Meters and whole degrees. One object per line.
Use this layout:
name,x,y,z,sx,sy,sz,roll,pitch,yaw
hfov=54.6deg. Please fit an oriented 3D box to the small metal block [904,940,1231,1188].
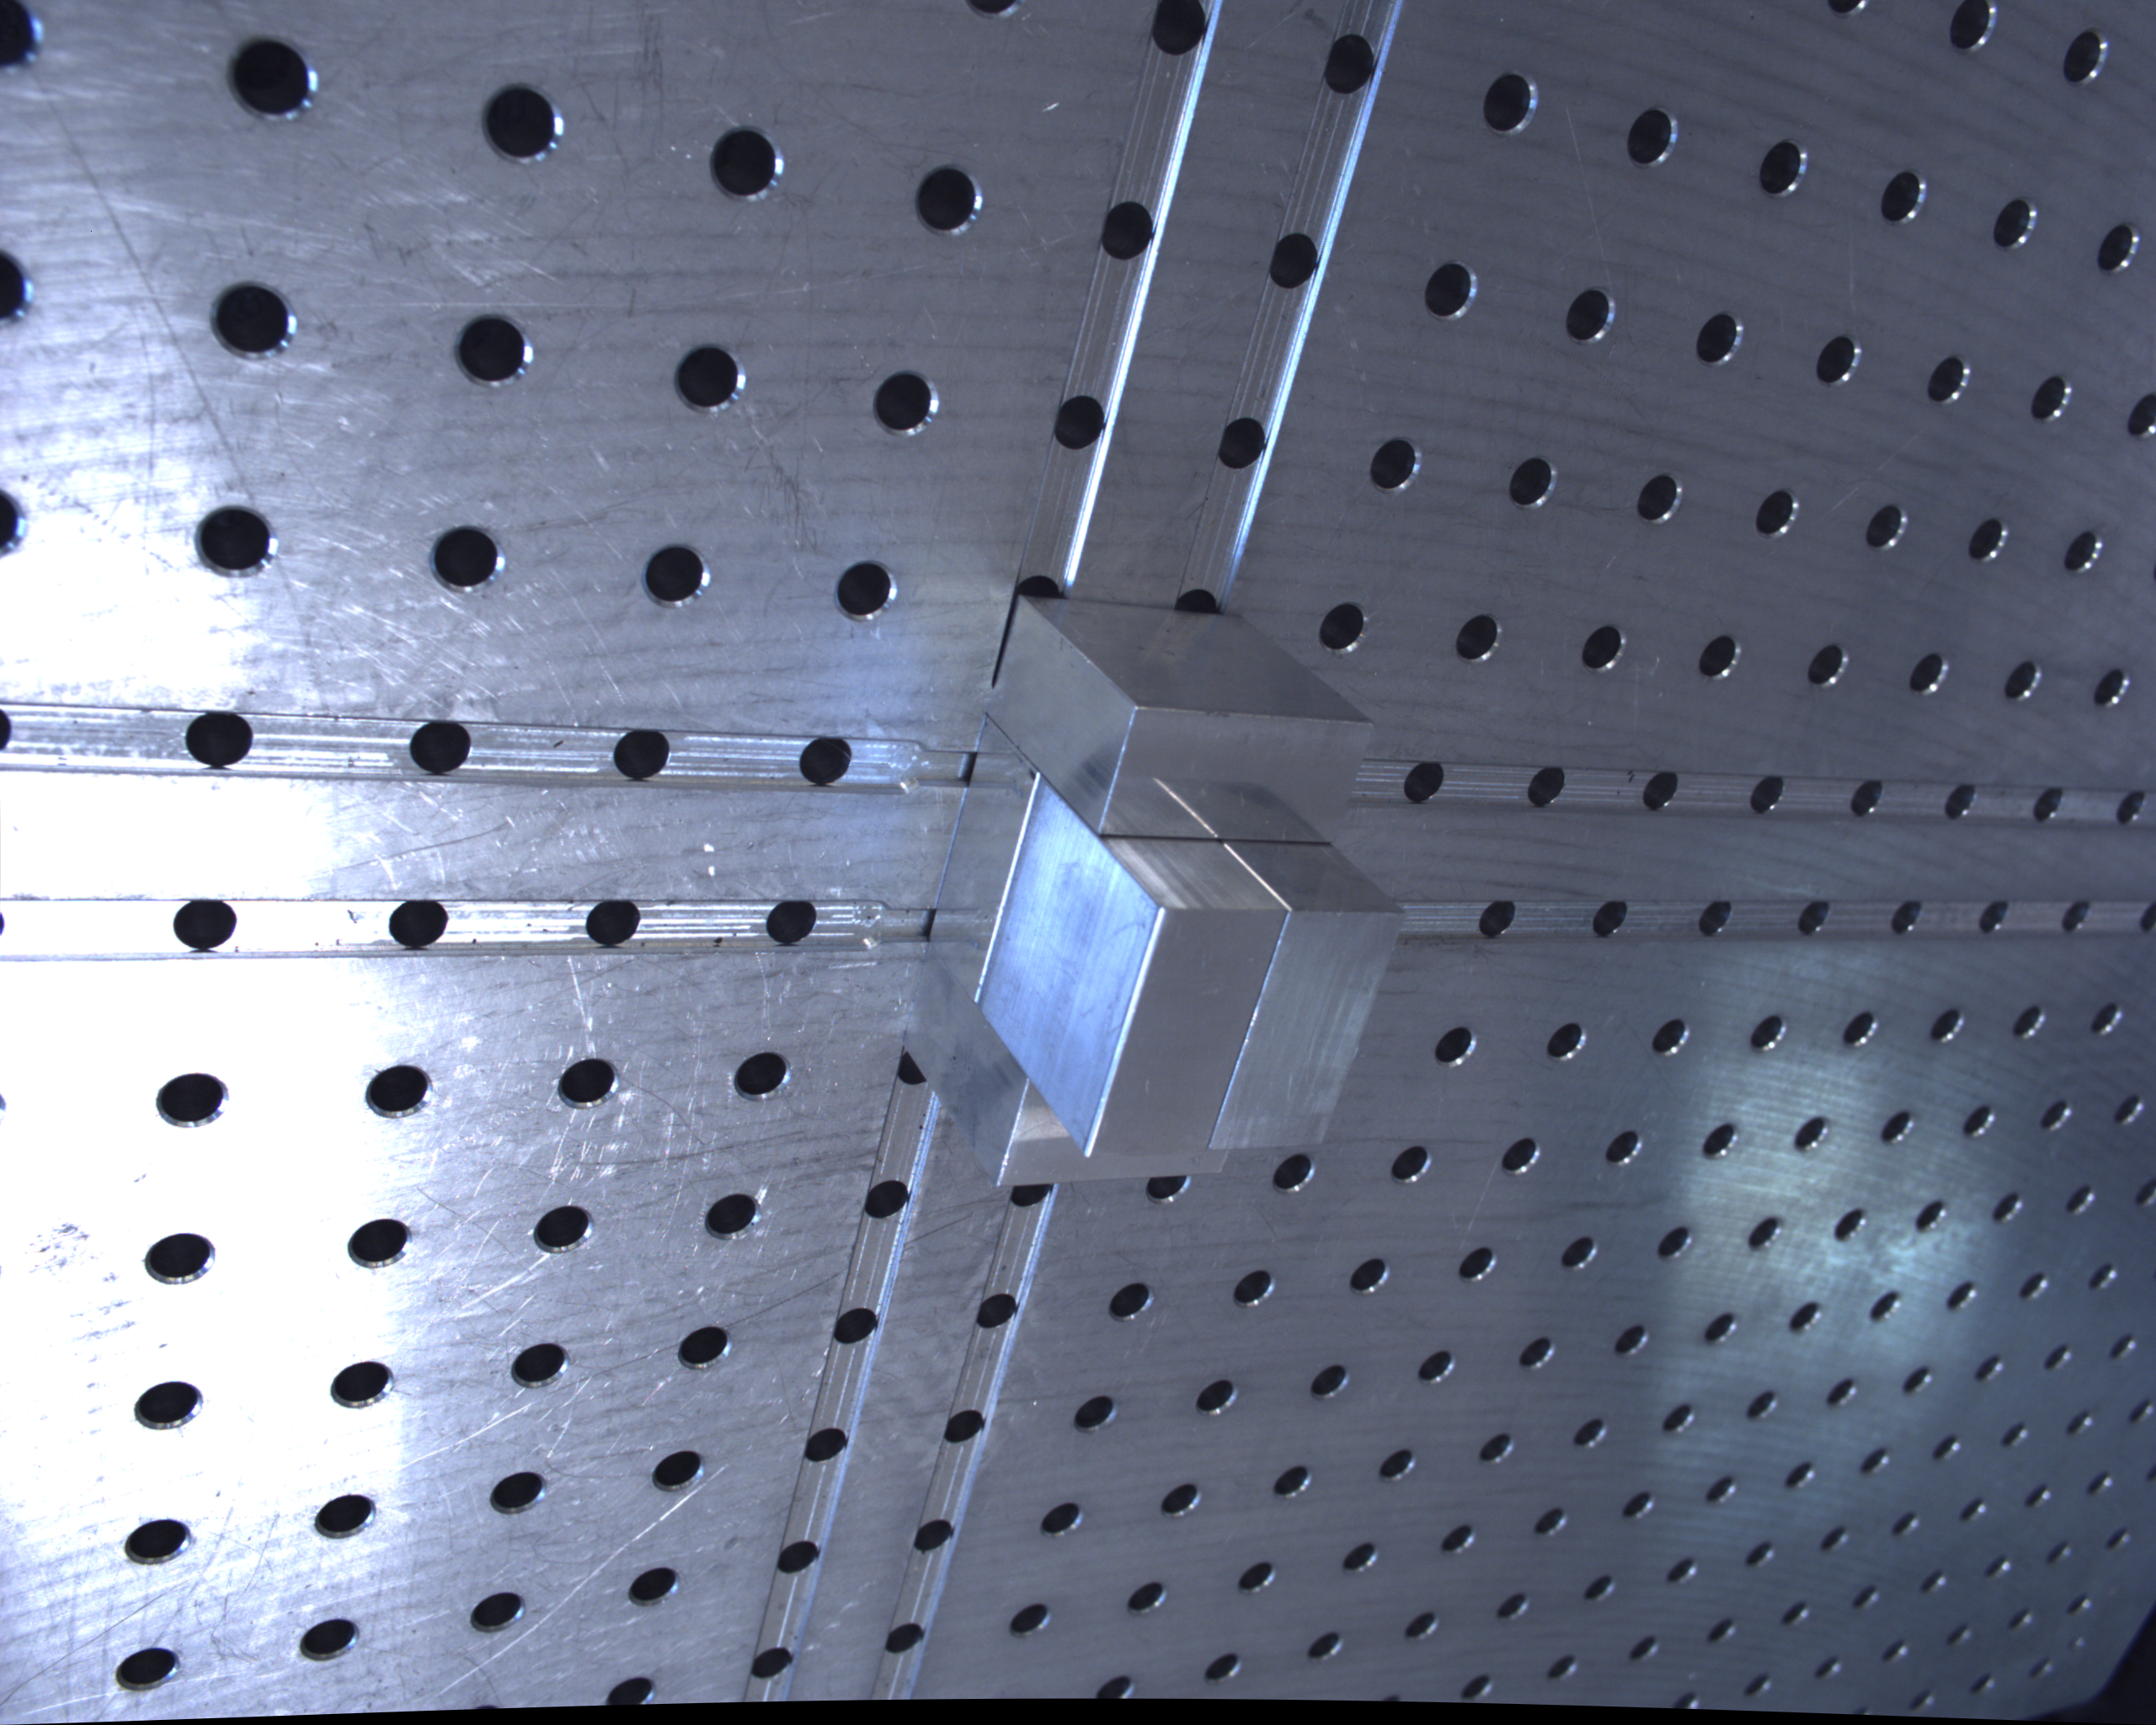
small metal block,0.000,0.039,0.418,0.050,0.050,0.025,1,118,-29

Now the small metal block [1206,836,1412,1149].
small metal block,0.031,0.018,0.390,0.025,0.050,0.050,2,117,-28

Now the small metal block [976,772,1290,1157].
small metal block,0.008,0.018,0.377,0.025,0.050,0.050,2,118,-29

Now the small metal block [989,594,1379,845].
small metal block,0.019,-0.026,0.387,0.050,0.050,0.025,2,118,-29

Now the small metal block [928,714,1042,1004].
small metal block,0.003,0.000,0.412,0.050,0.025,0.050,2,117,-28
